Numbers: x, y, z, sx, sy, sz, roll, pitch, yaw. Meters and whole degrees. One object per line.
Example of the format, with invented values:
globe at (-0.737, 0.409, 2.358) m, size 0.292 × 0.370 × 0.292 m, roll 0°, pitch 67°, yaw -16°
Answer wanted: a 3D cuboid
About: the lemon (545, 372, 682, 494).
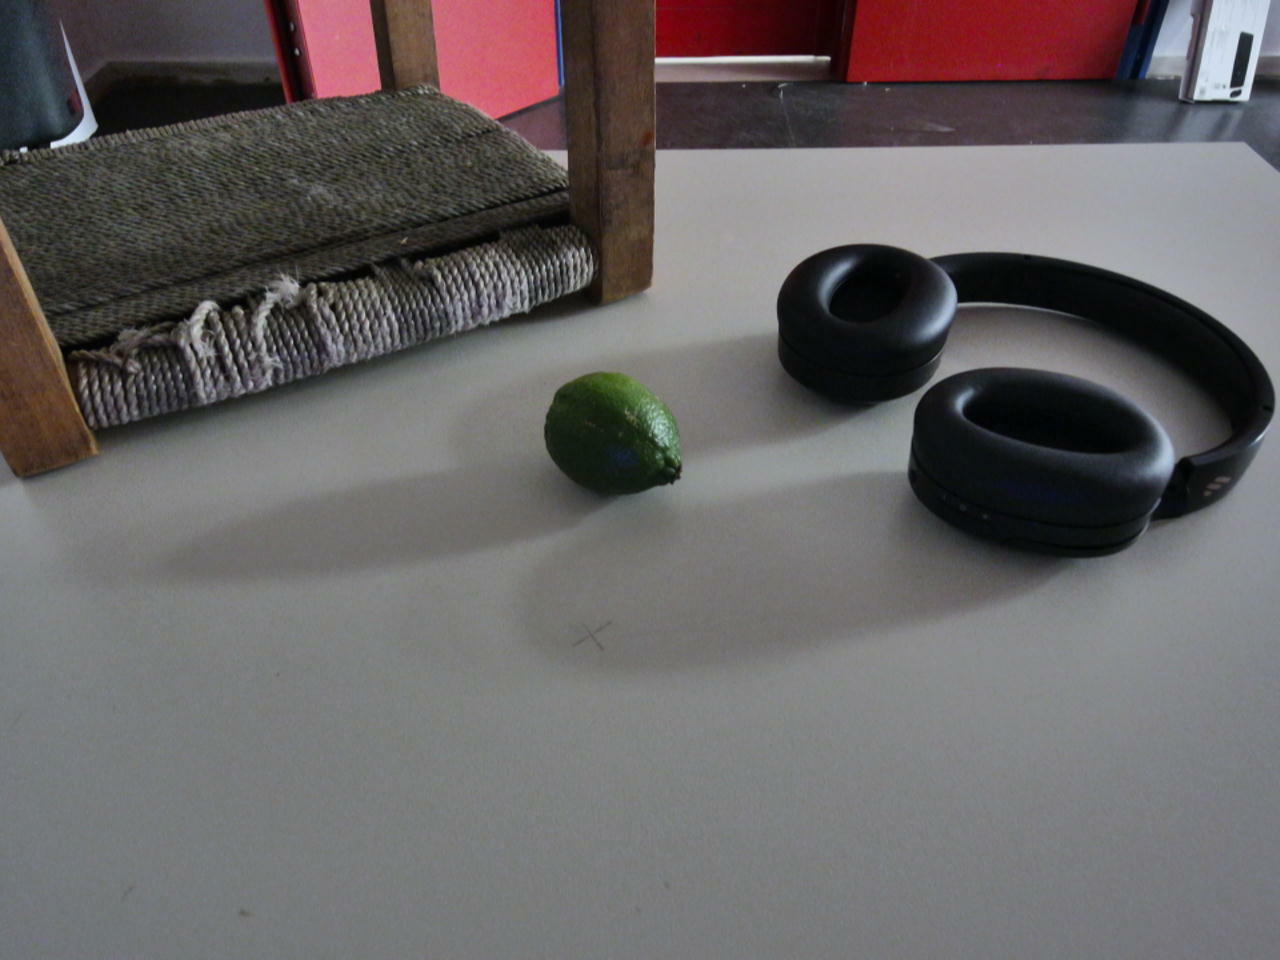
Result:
lemon at (-0.012, -0.021, 0.430) m, size 0.057 × 0.051 × 0.054 m, roll -3°, pitch 39°, yaw -3°
